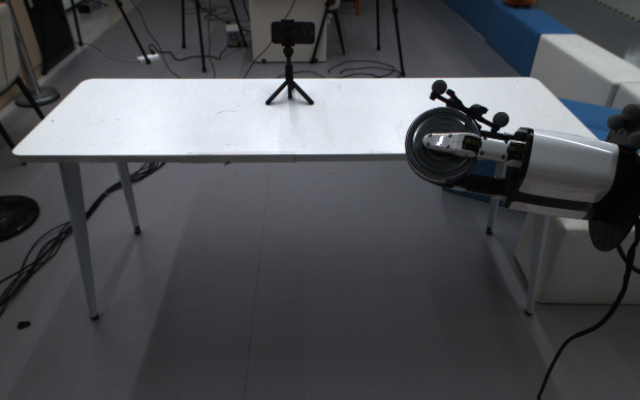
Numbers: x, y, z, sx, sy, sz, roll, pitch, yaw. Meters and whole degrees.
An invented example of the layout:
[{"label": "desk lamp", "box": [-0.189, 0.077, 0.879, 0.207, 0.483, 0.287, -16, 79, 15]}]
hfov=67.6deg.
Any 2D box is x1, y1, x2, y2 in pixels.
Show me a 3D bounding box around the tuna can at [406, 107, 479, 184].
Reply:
[{"label": "tuna can", "box": [0.144, -0.065, 0.563, 0.085, 0.085, 0.034, 13, -4, 15]}]
